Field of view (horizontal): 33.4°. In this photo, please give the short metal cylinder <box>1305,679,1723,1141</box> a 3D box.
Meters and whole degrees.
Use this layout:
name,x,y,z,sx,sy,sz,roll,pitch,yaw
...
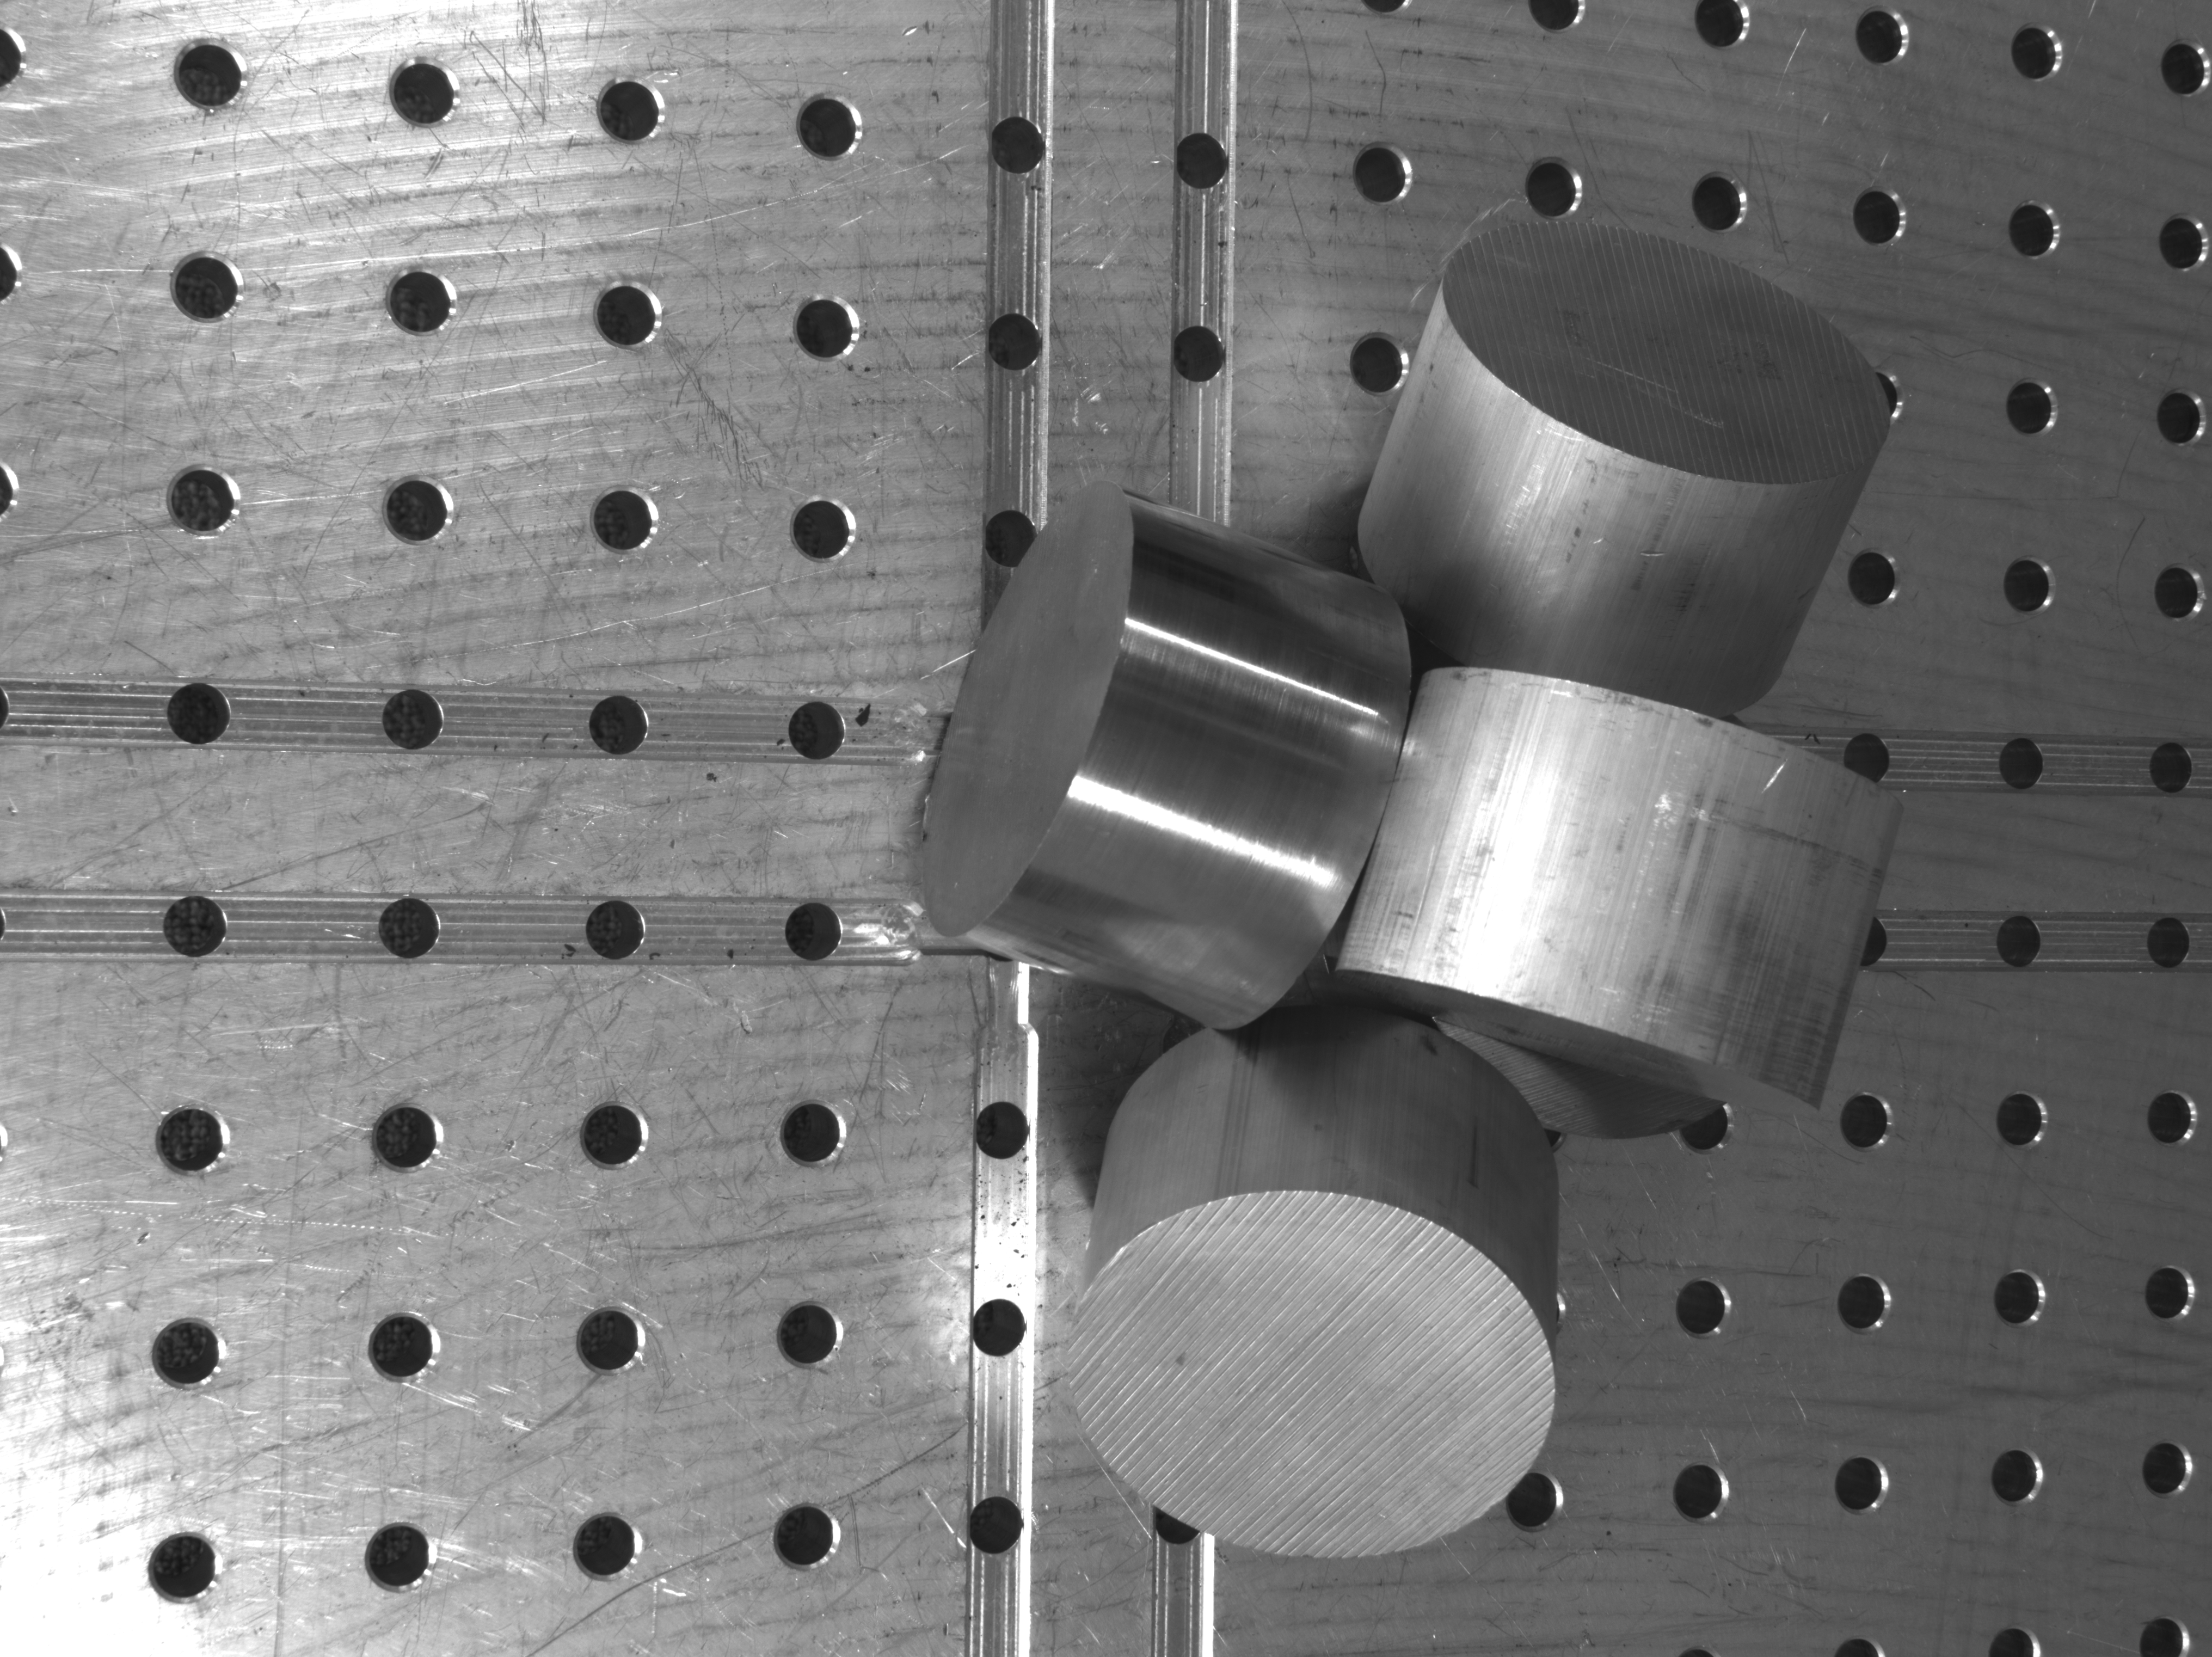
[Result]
name,x,y,z,sx,sy,sz,roll,pitch,yaw
short metal cylinder,0.081,0.015,0.661,0.080,0.050,0.080,0,89,-19

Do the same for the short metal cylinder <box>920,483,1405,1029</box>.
name,x,y,z,sx,sy,sz,roll,pitch,yaw
short metal cylinder,0.008,-0.012,0.620,0.050,0.080,0.080,20,83,-19

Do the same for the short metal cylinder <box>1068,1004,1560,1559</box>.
name,x,y,z,sx,sy,sz,roll,pitch,yaw
short metal cylinder,0.036,0.077,0.624,0.080,0.050,0.080,4,124,6

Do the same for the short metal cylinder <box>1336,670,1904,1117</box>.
name,x,y,z,sx,sy,sz,roll,pitch,yaw
short metal cylinder,0.082,0.011,0.593,0.080,0.080,0.050,19,84,-19

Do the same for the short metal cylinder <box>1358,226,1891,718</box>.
name,x,y,z,sx,sy,sz,roll,pitch,yaw
short metal cylinder,0.089,-0.062,0.642,0.080,0.080,0.050,2,129,-20
